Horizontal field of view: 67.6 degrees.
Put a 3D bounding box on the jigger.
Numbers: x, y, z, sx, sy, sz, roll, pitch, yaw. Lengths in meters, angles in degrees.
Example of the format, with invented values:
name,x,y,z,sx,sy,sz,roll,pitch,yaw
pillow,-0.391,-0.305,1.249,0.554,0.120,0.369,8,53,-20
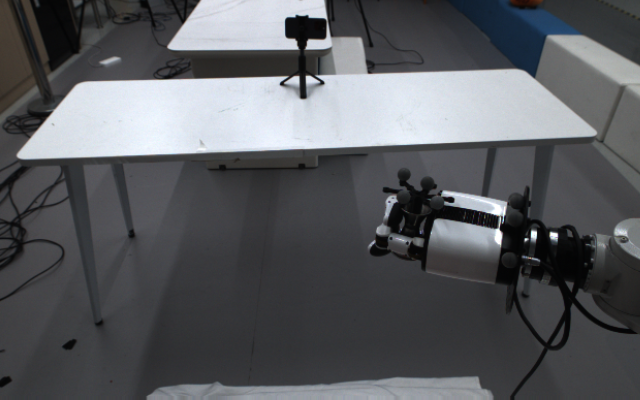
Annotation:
name,x,y,z,sx,sy,sz,roll,pitch,yaw
jigger,0.120,0.039,0.633,0.043,0.071,0.043,6,26,-3
